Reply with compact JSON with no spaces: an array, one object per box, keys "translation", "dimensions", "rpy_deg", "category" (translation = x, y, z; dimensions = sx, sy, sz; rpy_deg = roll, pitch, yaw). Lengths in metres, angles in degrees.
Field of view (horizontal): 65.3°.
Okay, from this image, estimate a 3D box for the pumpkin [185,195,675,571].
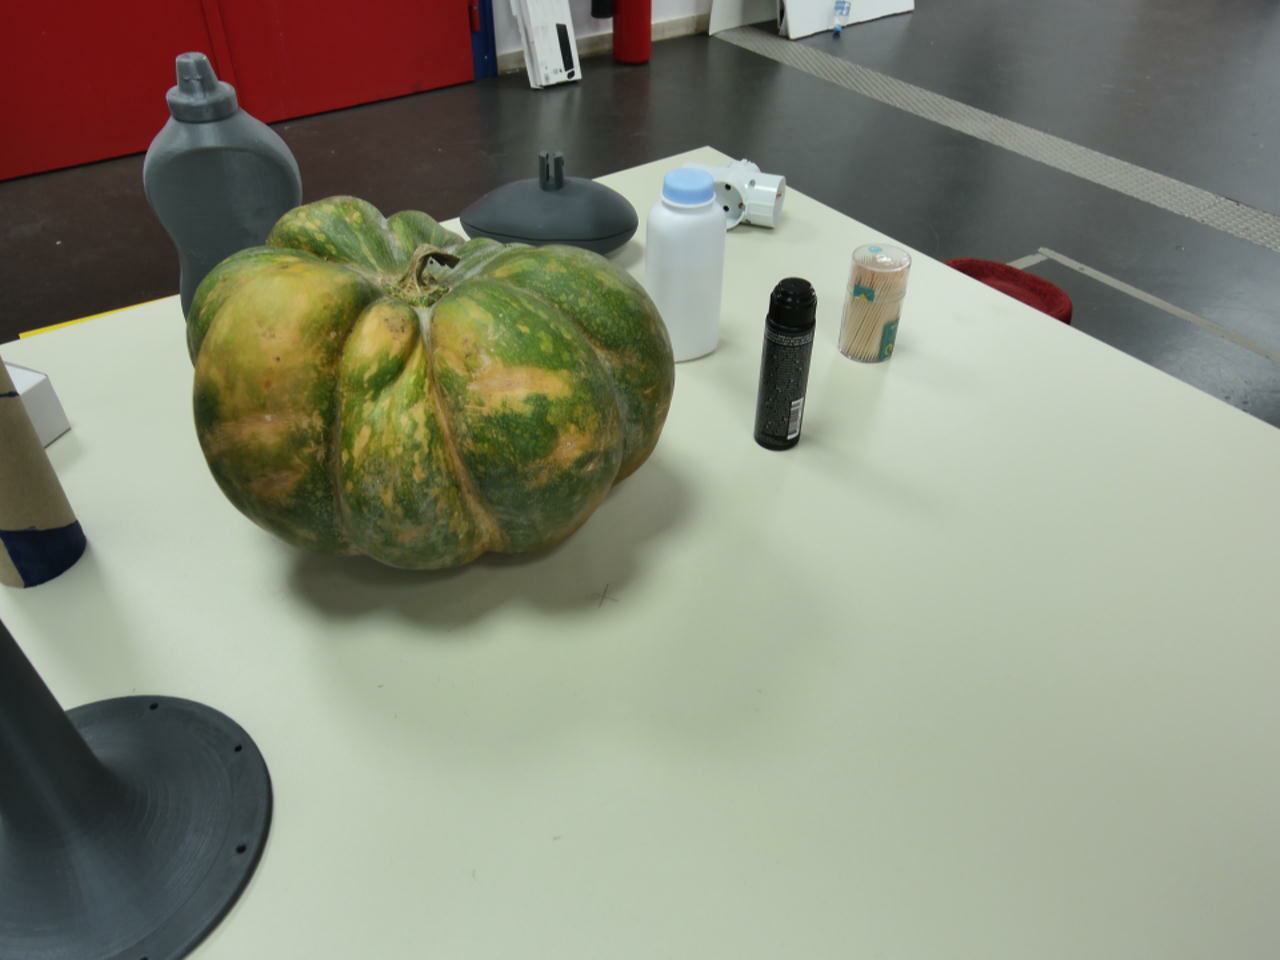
[{"translation":[-0.118,-0.060,0.547],"dimensions":[0.270,0.173,0.237],"rpy_deg":[0,38,0],"category":"pumpkin"}]
